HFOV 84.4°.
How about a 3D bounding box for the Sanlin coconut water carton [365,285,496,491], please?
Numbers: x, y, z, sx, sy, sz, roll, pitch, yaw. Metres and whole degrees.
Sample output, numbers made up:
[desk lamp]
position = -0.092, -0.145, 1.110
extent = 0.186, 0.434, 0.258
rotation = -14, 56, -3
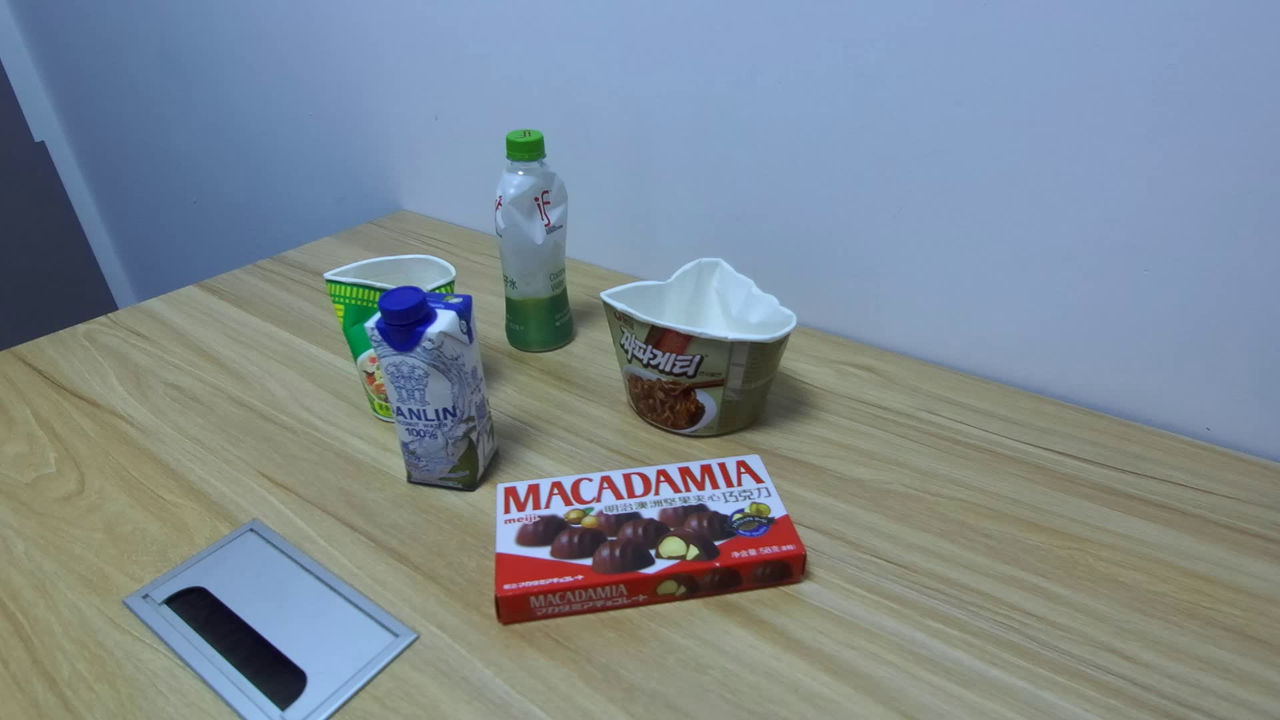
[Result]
[Sanlin coconut water carton]
position = -0.137, 0.015, 0.474
extent = 0.060, 0.144, 0.061
rotation = 5, 31, 11

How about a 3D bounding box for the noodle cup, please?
[noodle cup]
position = -0.185, -0.017, 0.558
extent = 0.082, 0.122, 0.075
rotation = 15, 26, 37

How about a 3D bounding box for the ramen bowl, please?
[ramen bowl]
position = 0.052, -0.007, 0.545
extent = 0.114, 0.097, 0.133
rotation = -24, 38, -32

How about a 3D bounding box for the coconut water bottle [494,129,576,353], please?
[coconut water bottle]
position = -0.093, -0.101, 0.617
extent = 0.067, 0.187, 0.067
rotation = 0, 30, 0

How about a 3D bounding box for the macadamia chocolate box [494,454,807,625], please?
[macadamia chocolate box]
position = 0.002, 0.106, 0.436
extent = 0.178, 0.027, 0.095
rotation = -5, 31, -6
